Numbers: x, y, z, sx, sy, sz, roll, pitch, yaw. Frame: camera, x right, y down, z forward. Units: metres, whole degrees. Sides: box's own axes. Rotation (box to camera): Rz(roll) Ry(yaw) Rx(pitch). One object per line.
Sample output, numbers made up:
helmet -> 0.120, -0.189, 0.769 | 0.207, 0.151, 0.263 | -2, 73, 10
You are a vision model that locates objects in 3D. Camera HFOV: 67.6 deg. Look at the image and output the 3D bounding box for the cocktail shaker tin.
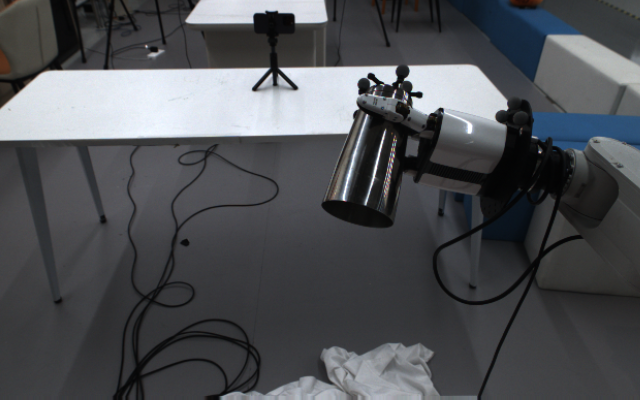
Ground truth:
cocktail shaker tin -> 0.070, -0.062, 0.626 | 0.093, 0.093, 0.170 | 12, 72, 14
